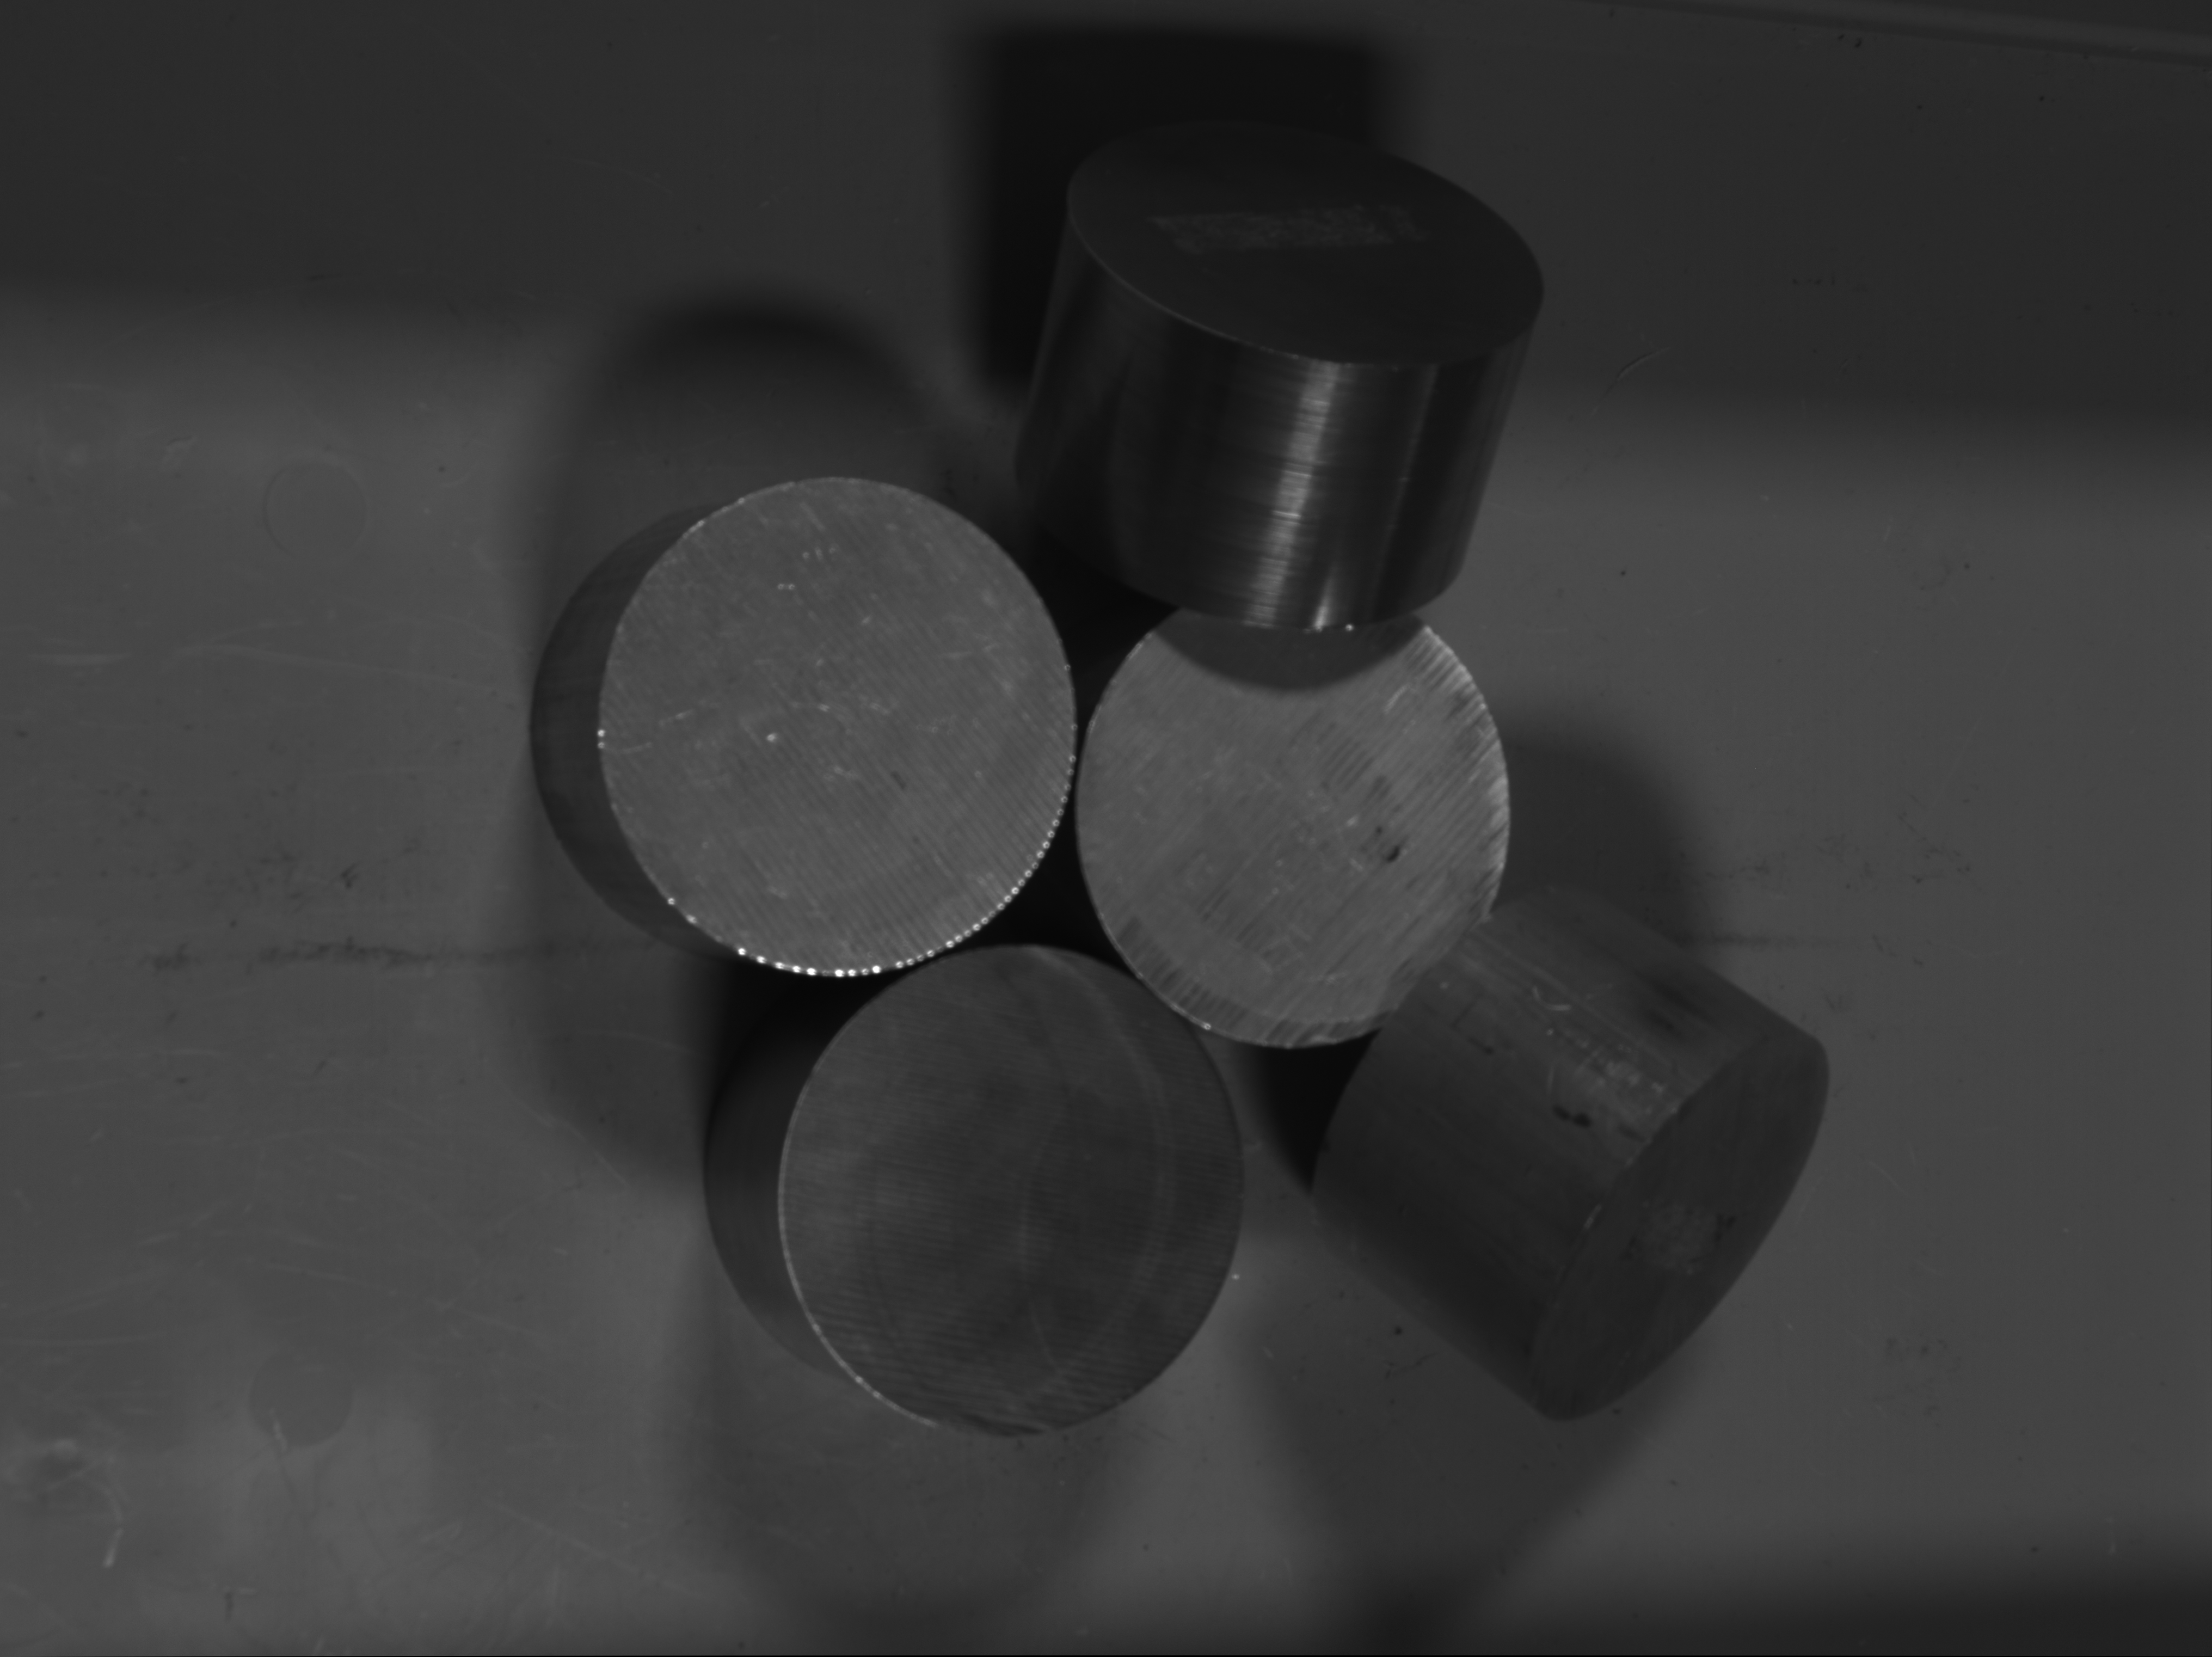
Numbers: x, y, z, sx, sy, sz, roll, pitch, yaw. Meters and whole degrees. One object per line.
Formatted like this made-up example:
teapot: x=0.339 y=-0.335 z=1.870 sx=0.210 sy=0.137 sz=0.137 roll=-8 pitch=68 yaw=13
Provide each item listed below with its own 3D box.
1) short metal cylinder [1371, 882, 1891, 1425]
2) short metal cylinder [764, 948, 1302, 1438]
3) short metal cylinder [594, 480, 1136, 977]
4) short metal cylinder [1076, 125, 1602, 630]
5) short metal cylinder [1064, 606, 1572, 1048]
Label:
short metal cylinder: x=0.092 y=0.057 z=0.640 sx=0.080 sy=0.050 sz=0.080 roll=-34 pitch=144 yaw=-30
short metal cylinder: x=-0.013 y=0.060 z=0.624 sx=0.080 sy=0.050 sz=0.080 roll=0 pitch=90 yaw=-20
short metal cylinder: x=-0.041 y=-0.016 z=0.613 sx=0.080 sy=0.050 sz=0.080 roll=0 pitch=90 yaw=-20
short metal cylinder: x=0.039 y=-0.077 z=0.619 sx=0.080 sy=0.080 sz=0.050 roll=-3 pitch=129 yaw=-20
short metal cylinder: x=0.034 y=-0.003 z=0.641 sx=0.080 sy=0.050 sz=0.080 roll=0 pitch=90 yaw=-20
